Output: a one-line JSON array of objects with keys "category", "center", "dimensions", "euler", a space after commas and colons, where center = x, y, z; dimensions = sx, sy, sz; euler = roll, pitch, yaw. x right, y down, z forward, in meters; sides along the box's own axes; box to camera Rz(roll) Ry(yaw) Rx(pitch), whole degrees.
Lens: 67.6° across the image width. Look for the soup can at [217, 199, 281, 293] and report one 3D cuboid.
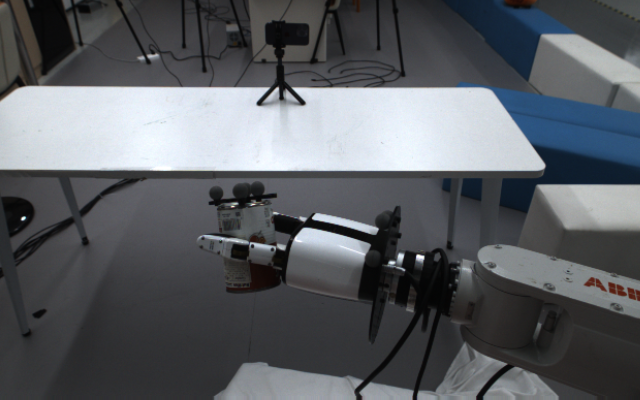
[{"category": "soup can", "center": [-0.083, 0.055, 0.581], "dimensions": [0.067, 0.101, 0.067], "euler": [-7, 3, 0]}]
